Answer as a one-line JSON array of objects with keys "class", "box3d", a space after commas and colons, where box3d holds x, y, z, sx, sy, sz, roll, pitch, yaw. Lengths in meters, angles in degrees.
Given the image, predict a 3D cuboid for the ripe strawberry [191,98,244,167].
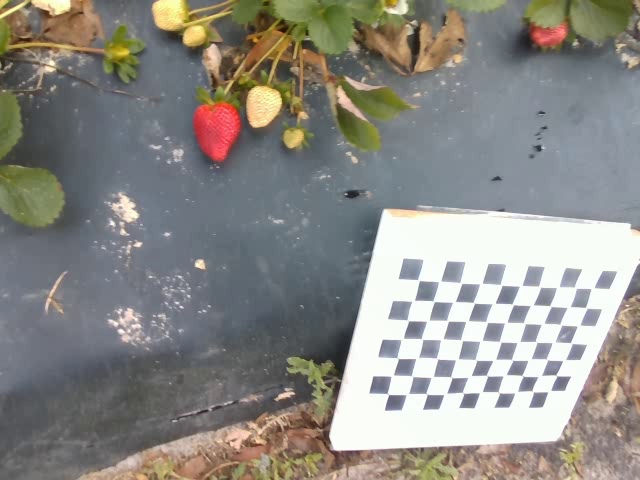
[{"class": "ripe strawberry", "box3d": [-0.088, -0.094, 0.516, 0.050, 0.059, 0.034, -6, -22, -10]}]
